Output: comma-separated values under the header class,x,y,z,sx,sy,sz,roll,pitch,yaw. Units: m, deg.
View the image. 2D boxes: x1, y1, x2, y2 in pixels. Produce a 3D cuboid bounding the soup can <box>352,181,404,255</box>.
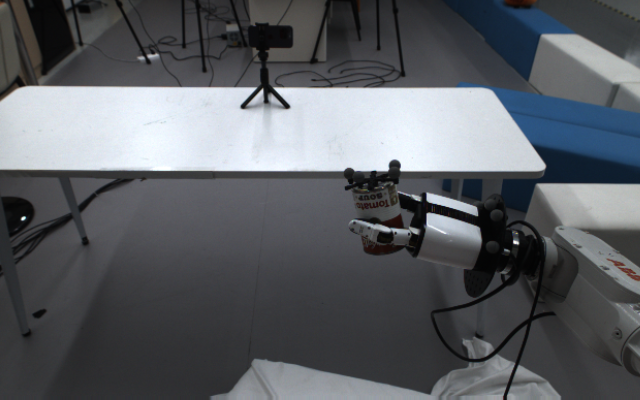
class,x,y,z,sx,sy,sz,roll,pitch,yaw
soup can,0.090,0.022,0.723,0.067,0.101,0.067,-12,17,4
